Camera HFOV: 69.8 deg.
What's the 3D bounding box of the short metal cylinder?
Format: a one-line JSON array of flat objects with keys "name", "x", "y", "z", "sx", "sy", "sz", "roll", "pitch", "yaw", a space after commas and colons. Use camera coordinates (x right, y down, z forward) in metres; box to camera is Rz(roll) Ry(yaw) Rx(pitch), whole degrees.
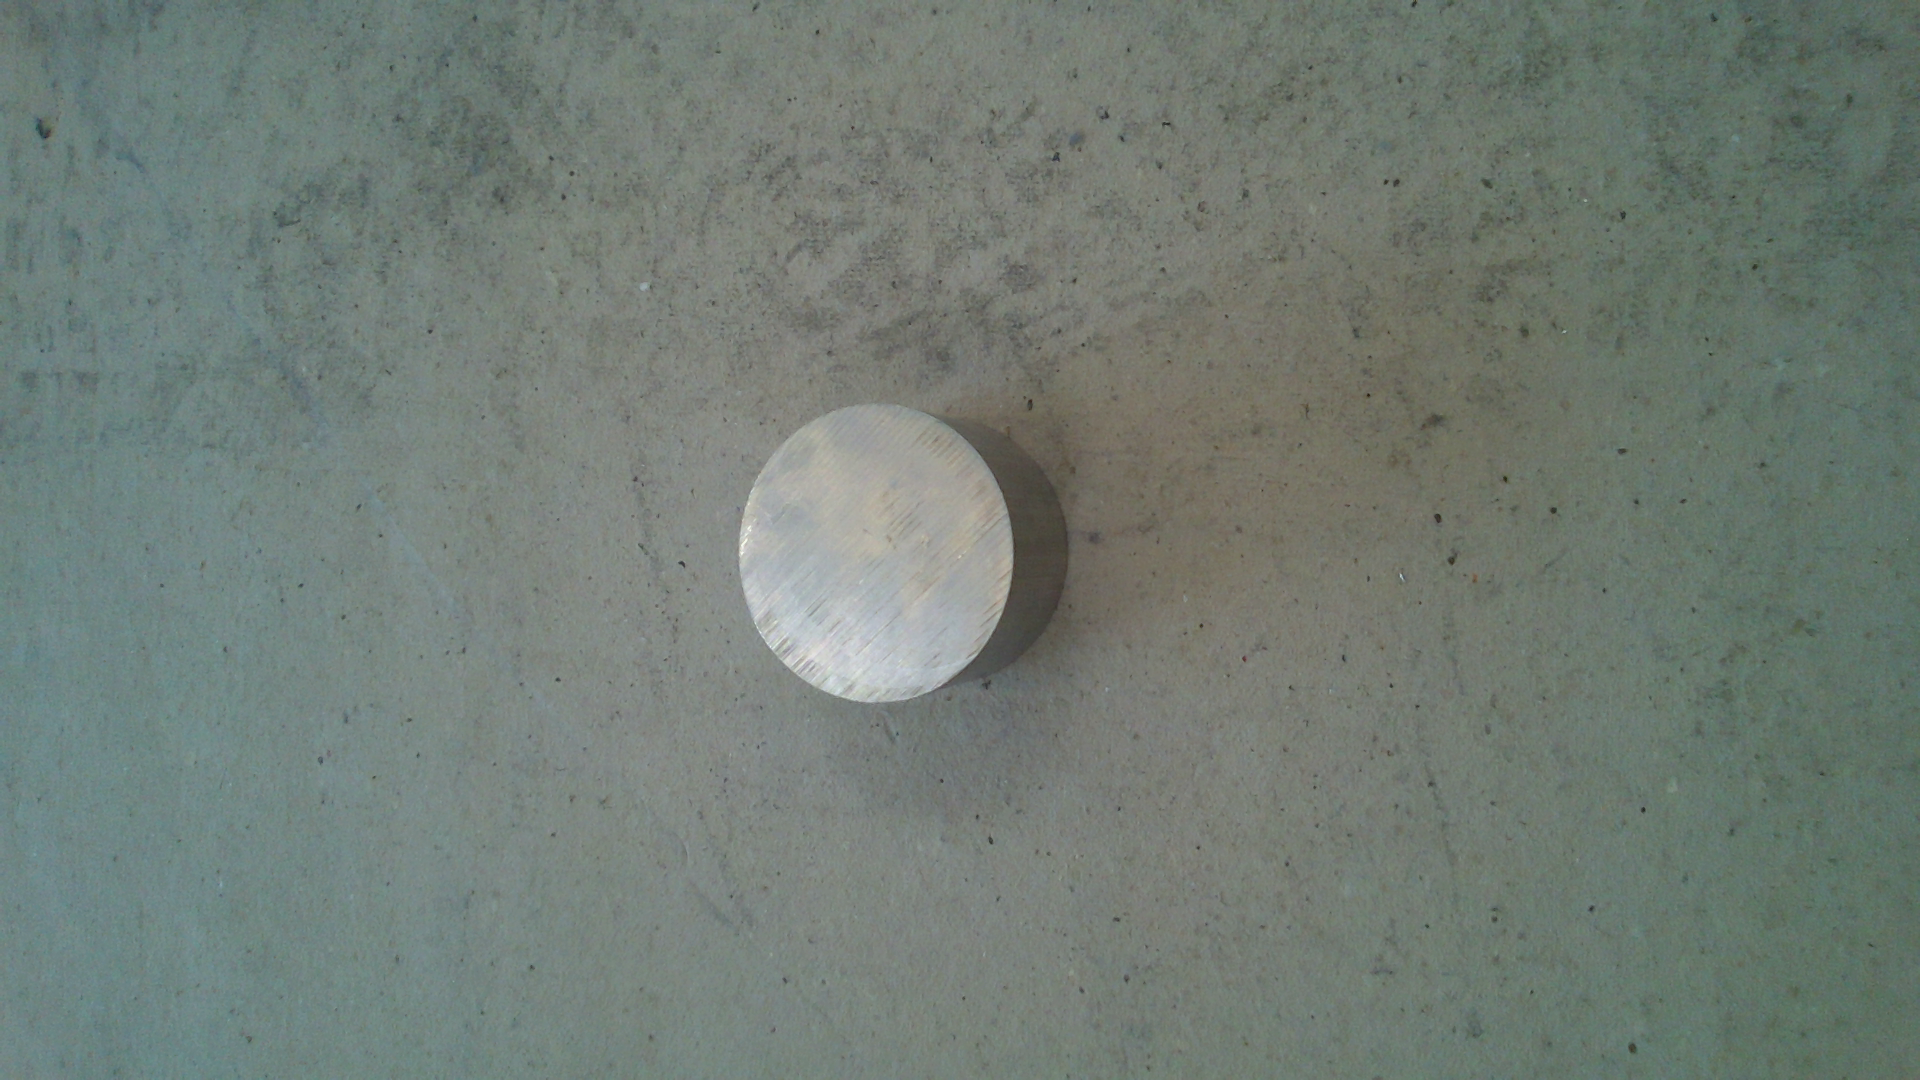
[{"name": "short metal cylinder", "x": -0.015, "y": 0.003, "z": 0.388, "sx": 0.080, "sy": 0.050, "sz": 0.080, "roll": 0, "pitch": 90, "yaw": 19}]
